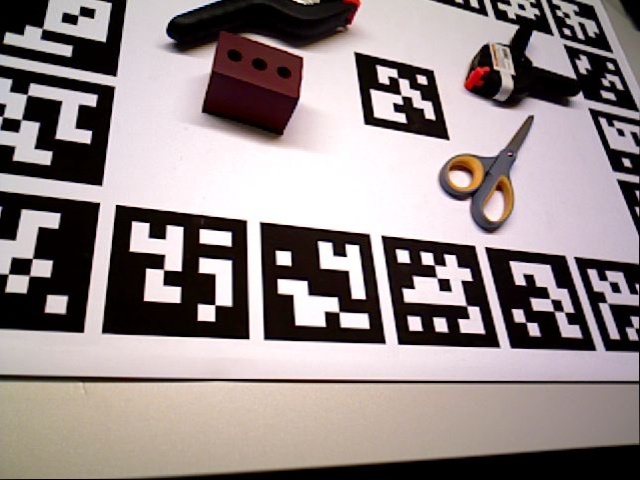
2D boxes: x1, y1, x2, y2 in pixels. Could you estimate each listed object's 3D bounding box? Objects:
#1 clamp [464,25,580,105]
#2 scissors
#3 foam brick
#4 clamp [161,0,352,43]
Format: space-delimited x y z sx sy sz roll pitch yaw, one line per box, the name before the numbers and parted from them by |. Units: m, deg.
clamp | 0.239 -0.208 0.660 0.162 0.037 0.122 -23 83 -29
scissors | 0.192 -0.083 0.581 0.088 0.016 0.198 44 55 -6
foam brick | -0.065 -0.131 0.485 0.077 0.052 0.052 11 62 -12
clamp | -0.062 -0.249 0.552 0.200 0.037 0.164 2 61 -23
